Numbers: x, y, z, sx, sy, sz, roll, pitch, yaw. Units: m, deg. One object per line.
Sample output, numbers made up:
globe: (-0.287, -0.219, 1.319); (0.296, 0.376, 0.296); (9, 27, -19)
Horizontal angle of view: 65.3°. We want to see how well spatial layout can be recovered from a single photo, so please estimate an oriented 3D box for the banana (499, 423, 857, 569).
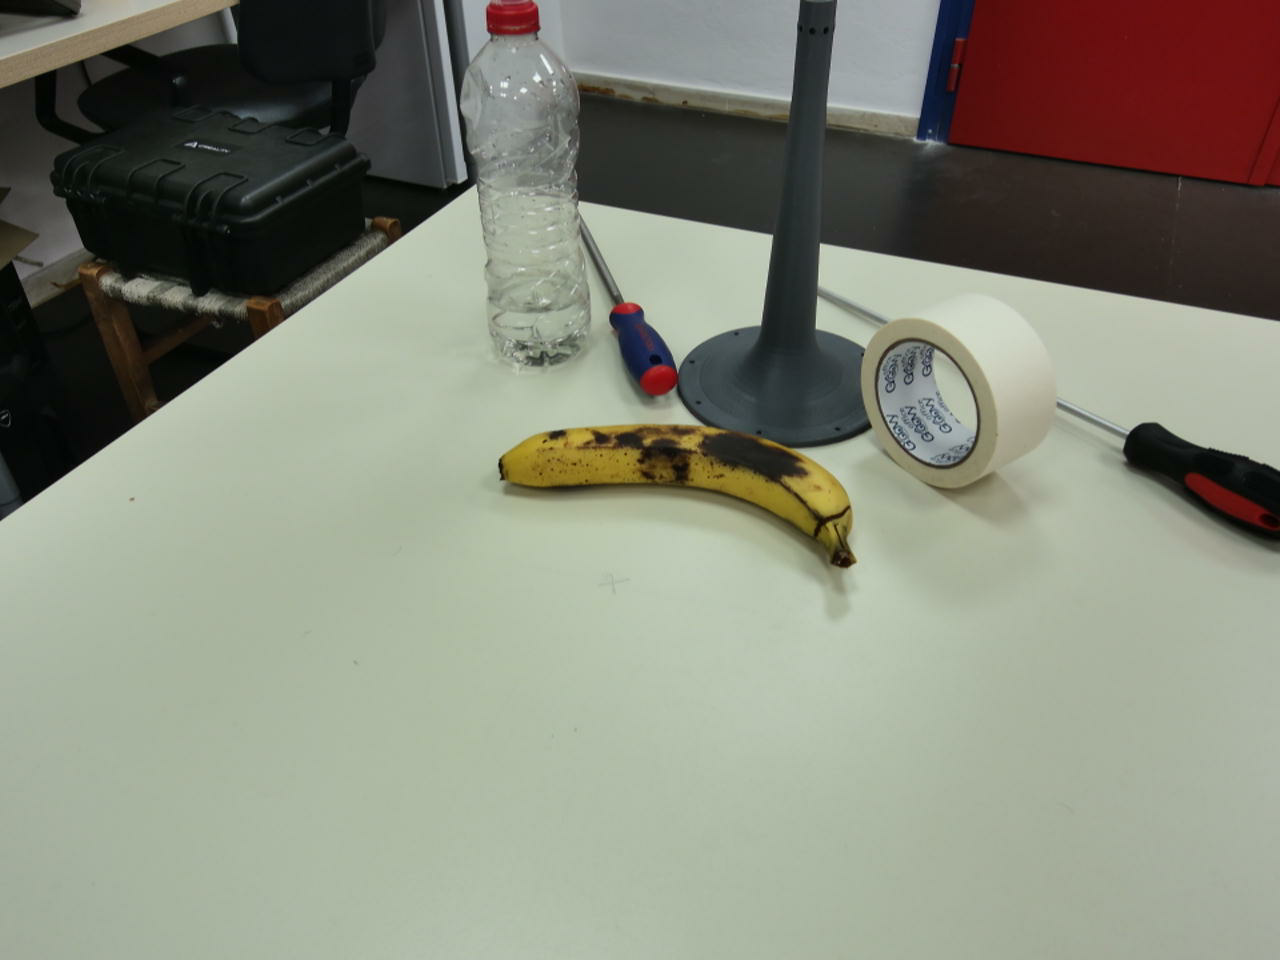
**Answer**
banana: (0.029, -0.003, 0.596); (0.222, 0.037, 0.084); (16, 41, 20)
